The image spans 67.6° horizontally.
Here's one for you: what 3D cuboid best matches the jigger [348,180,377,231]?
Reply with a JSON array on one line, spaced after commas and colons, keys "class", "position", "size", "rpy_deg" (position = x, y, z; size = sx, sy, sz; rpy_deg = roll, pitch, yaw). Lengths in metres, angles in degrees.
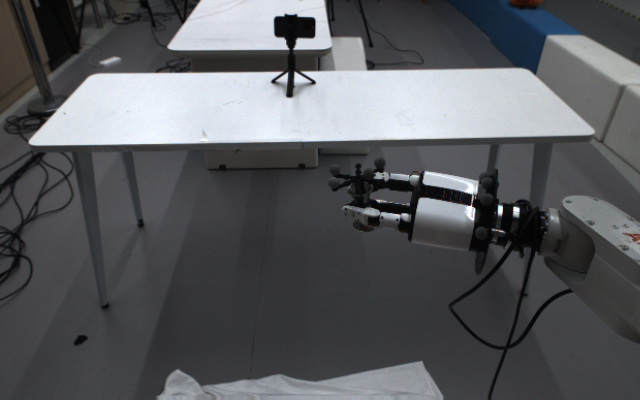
[{"class": "jigger", "position": [0.068, 0.010, 0.757], "size": [0.043, 0.071, 0.043], "rpy_deg": [-10, 32, 6]}]
